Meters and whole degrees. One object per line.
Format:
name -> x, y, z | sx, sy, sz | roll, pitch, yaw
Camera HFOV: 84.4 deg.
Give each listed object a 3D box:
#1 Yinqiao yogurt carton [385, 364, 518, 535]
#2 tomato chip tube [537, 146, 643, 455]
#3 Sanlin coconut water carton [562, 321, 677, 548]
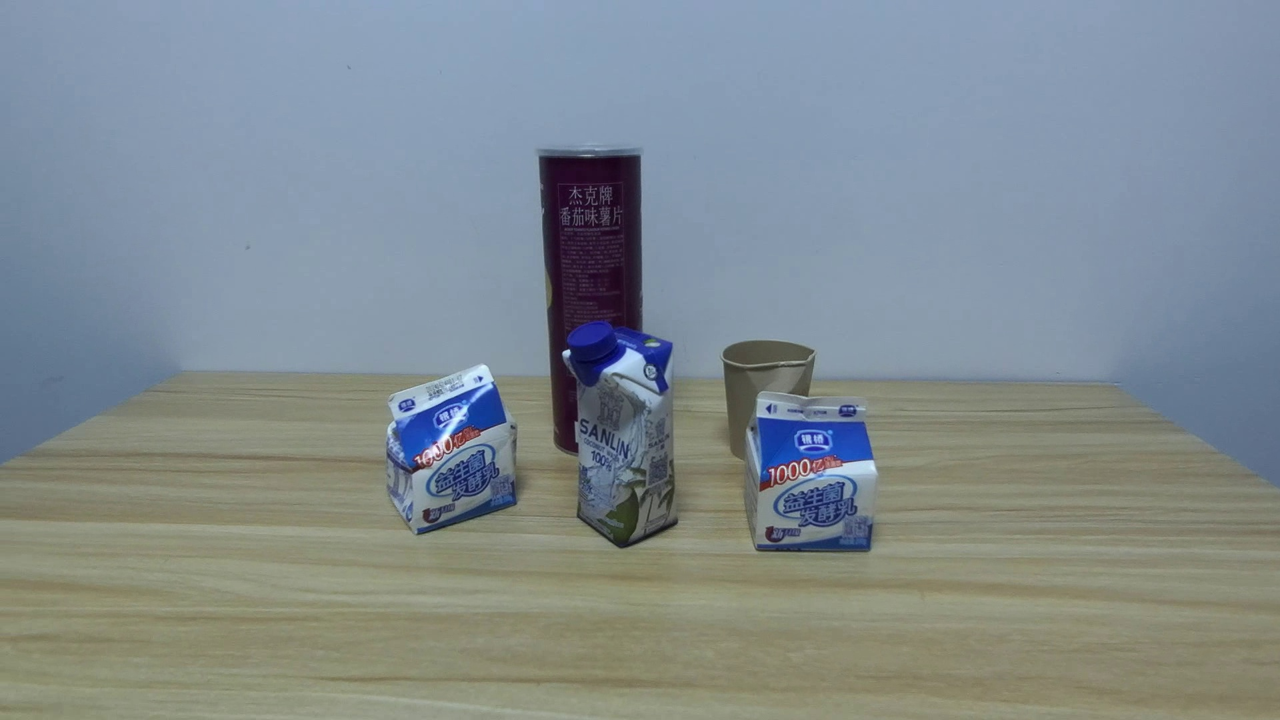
Yinqiao yogurt carton -> -0.132, 0.053, 0.492 | 0.083, 0.093, 0.077 | -13, 23, -30
tomato chip tube -> -0.035, -0.044, 0.555 | 0.078, 0.234, 0.078 | 0, 17, 0
Sanlin coconut water carton -> -0.012, 0.043, 0.450 | 0.058, 0.142, 0.077 | -22, 28, -35
